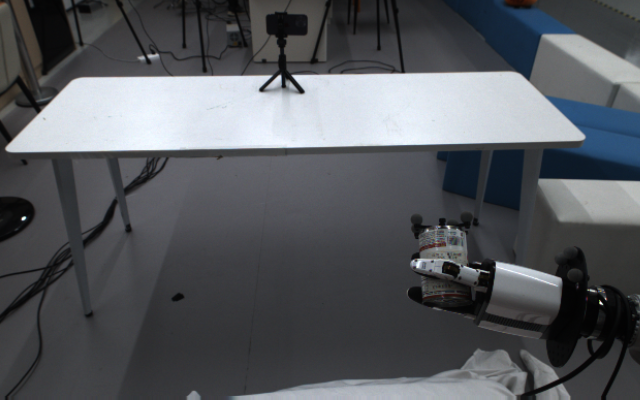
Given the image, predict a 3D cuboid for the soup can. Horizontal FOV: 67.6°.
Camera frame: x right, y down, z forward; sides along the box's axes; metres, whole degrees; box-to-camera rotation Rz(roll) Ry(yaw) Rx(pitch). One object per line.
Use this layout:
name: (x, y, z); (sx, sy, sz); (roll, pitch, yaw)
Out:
soup can: (0.176, 0.094, 0.677); (0.067, 0.067, 0.101); (1, 68, -1)
